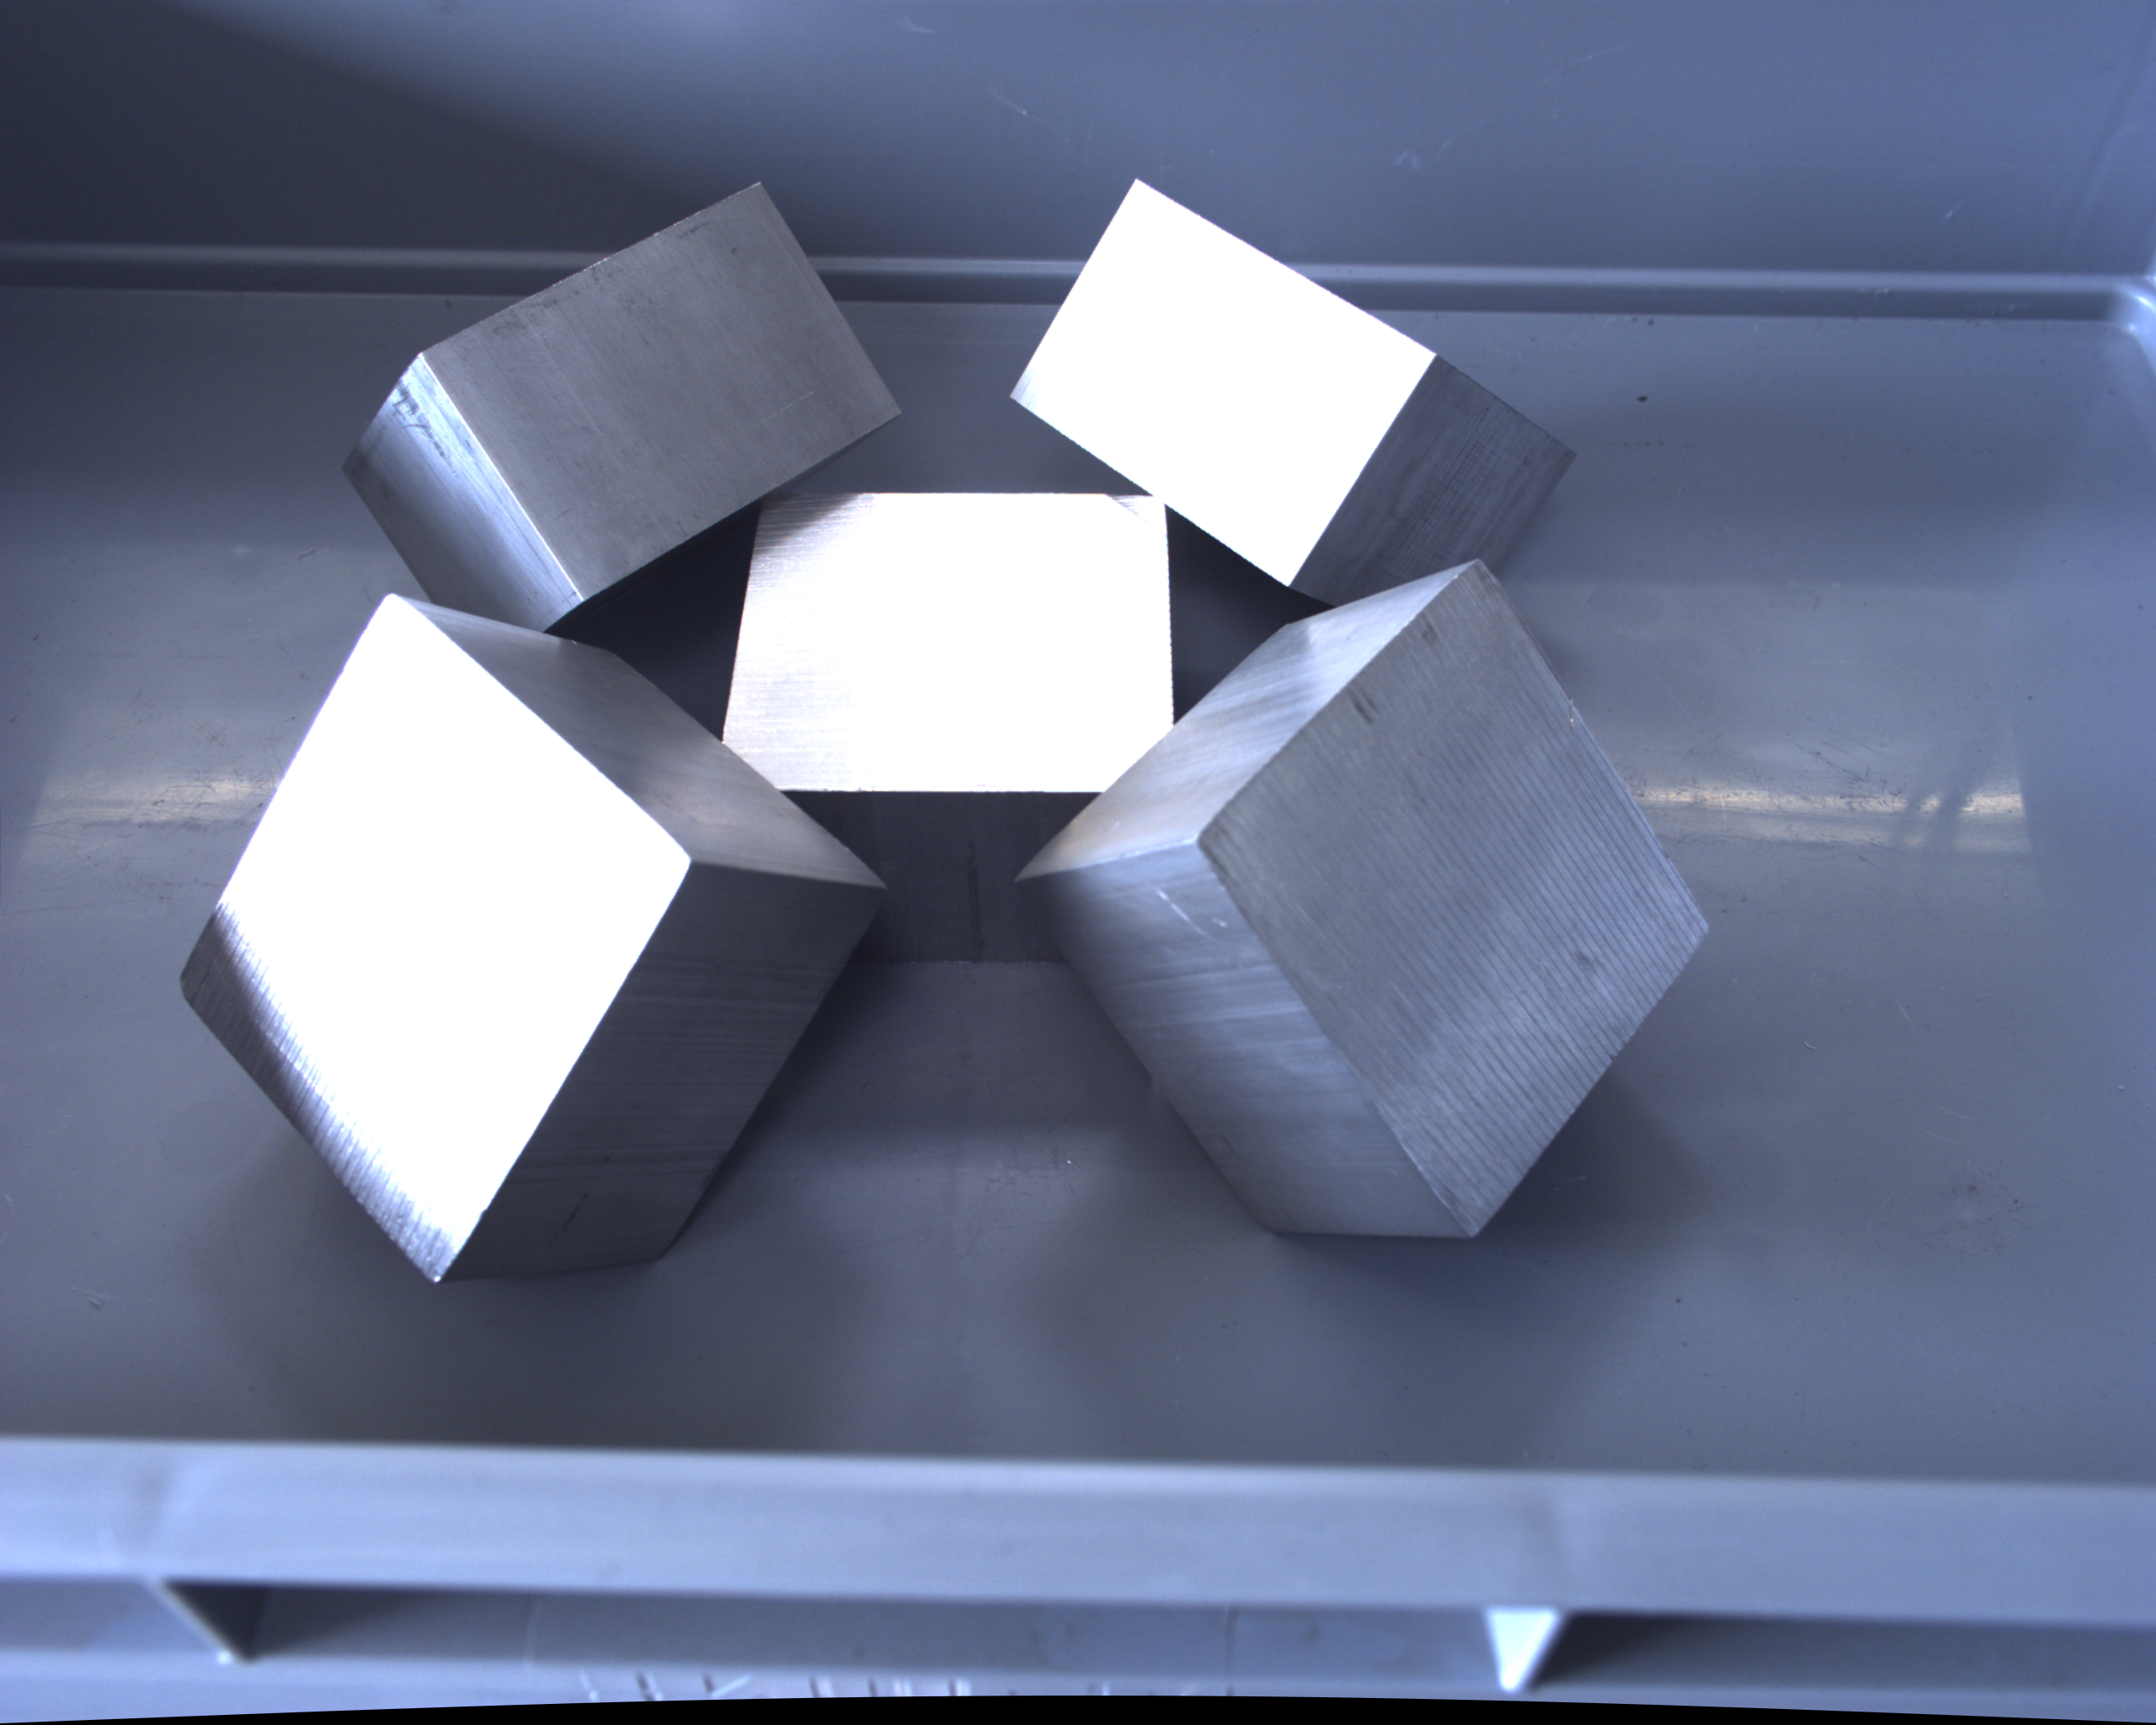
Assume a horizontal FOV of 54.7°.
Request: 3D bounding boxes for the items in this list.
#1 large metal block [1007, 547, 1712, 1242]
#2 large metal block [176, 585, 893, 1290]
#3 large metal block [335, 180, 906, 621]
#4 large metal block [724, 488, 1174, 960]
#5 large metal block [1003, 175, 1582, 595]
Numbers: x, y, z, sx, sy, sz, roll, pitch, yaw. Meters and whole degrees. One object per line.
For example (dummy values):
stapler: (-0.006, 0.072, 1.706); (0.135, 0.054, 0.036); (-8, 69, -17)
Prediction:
large metal block: (0.049, 0.006, 0.353); (0.080, 0.050, 0.080); (-44, 108, -31)
large metal block: (-0.092, 0.012, 0.349); (0.080, 0.050, 0.080); (39, 104, 27)
large metal block: (-0.096, -0.087, 0.429); (0.080, 0.080, 0.050); (-38, 103, -28)
large metal block: (-0.023, -0.028, 0.409); (0.080, 0.050, 0.080); (1, 50, 0)
large metal block: (0.046, -0.092, 0.438); (0.080, 0.050, 0.080); (39, 17, 28)
